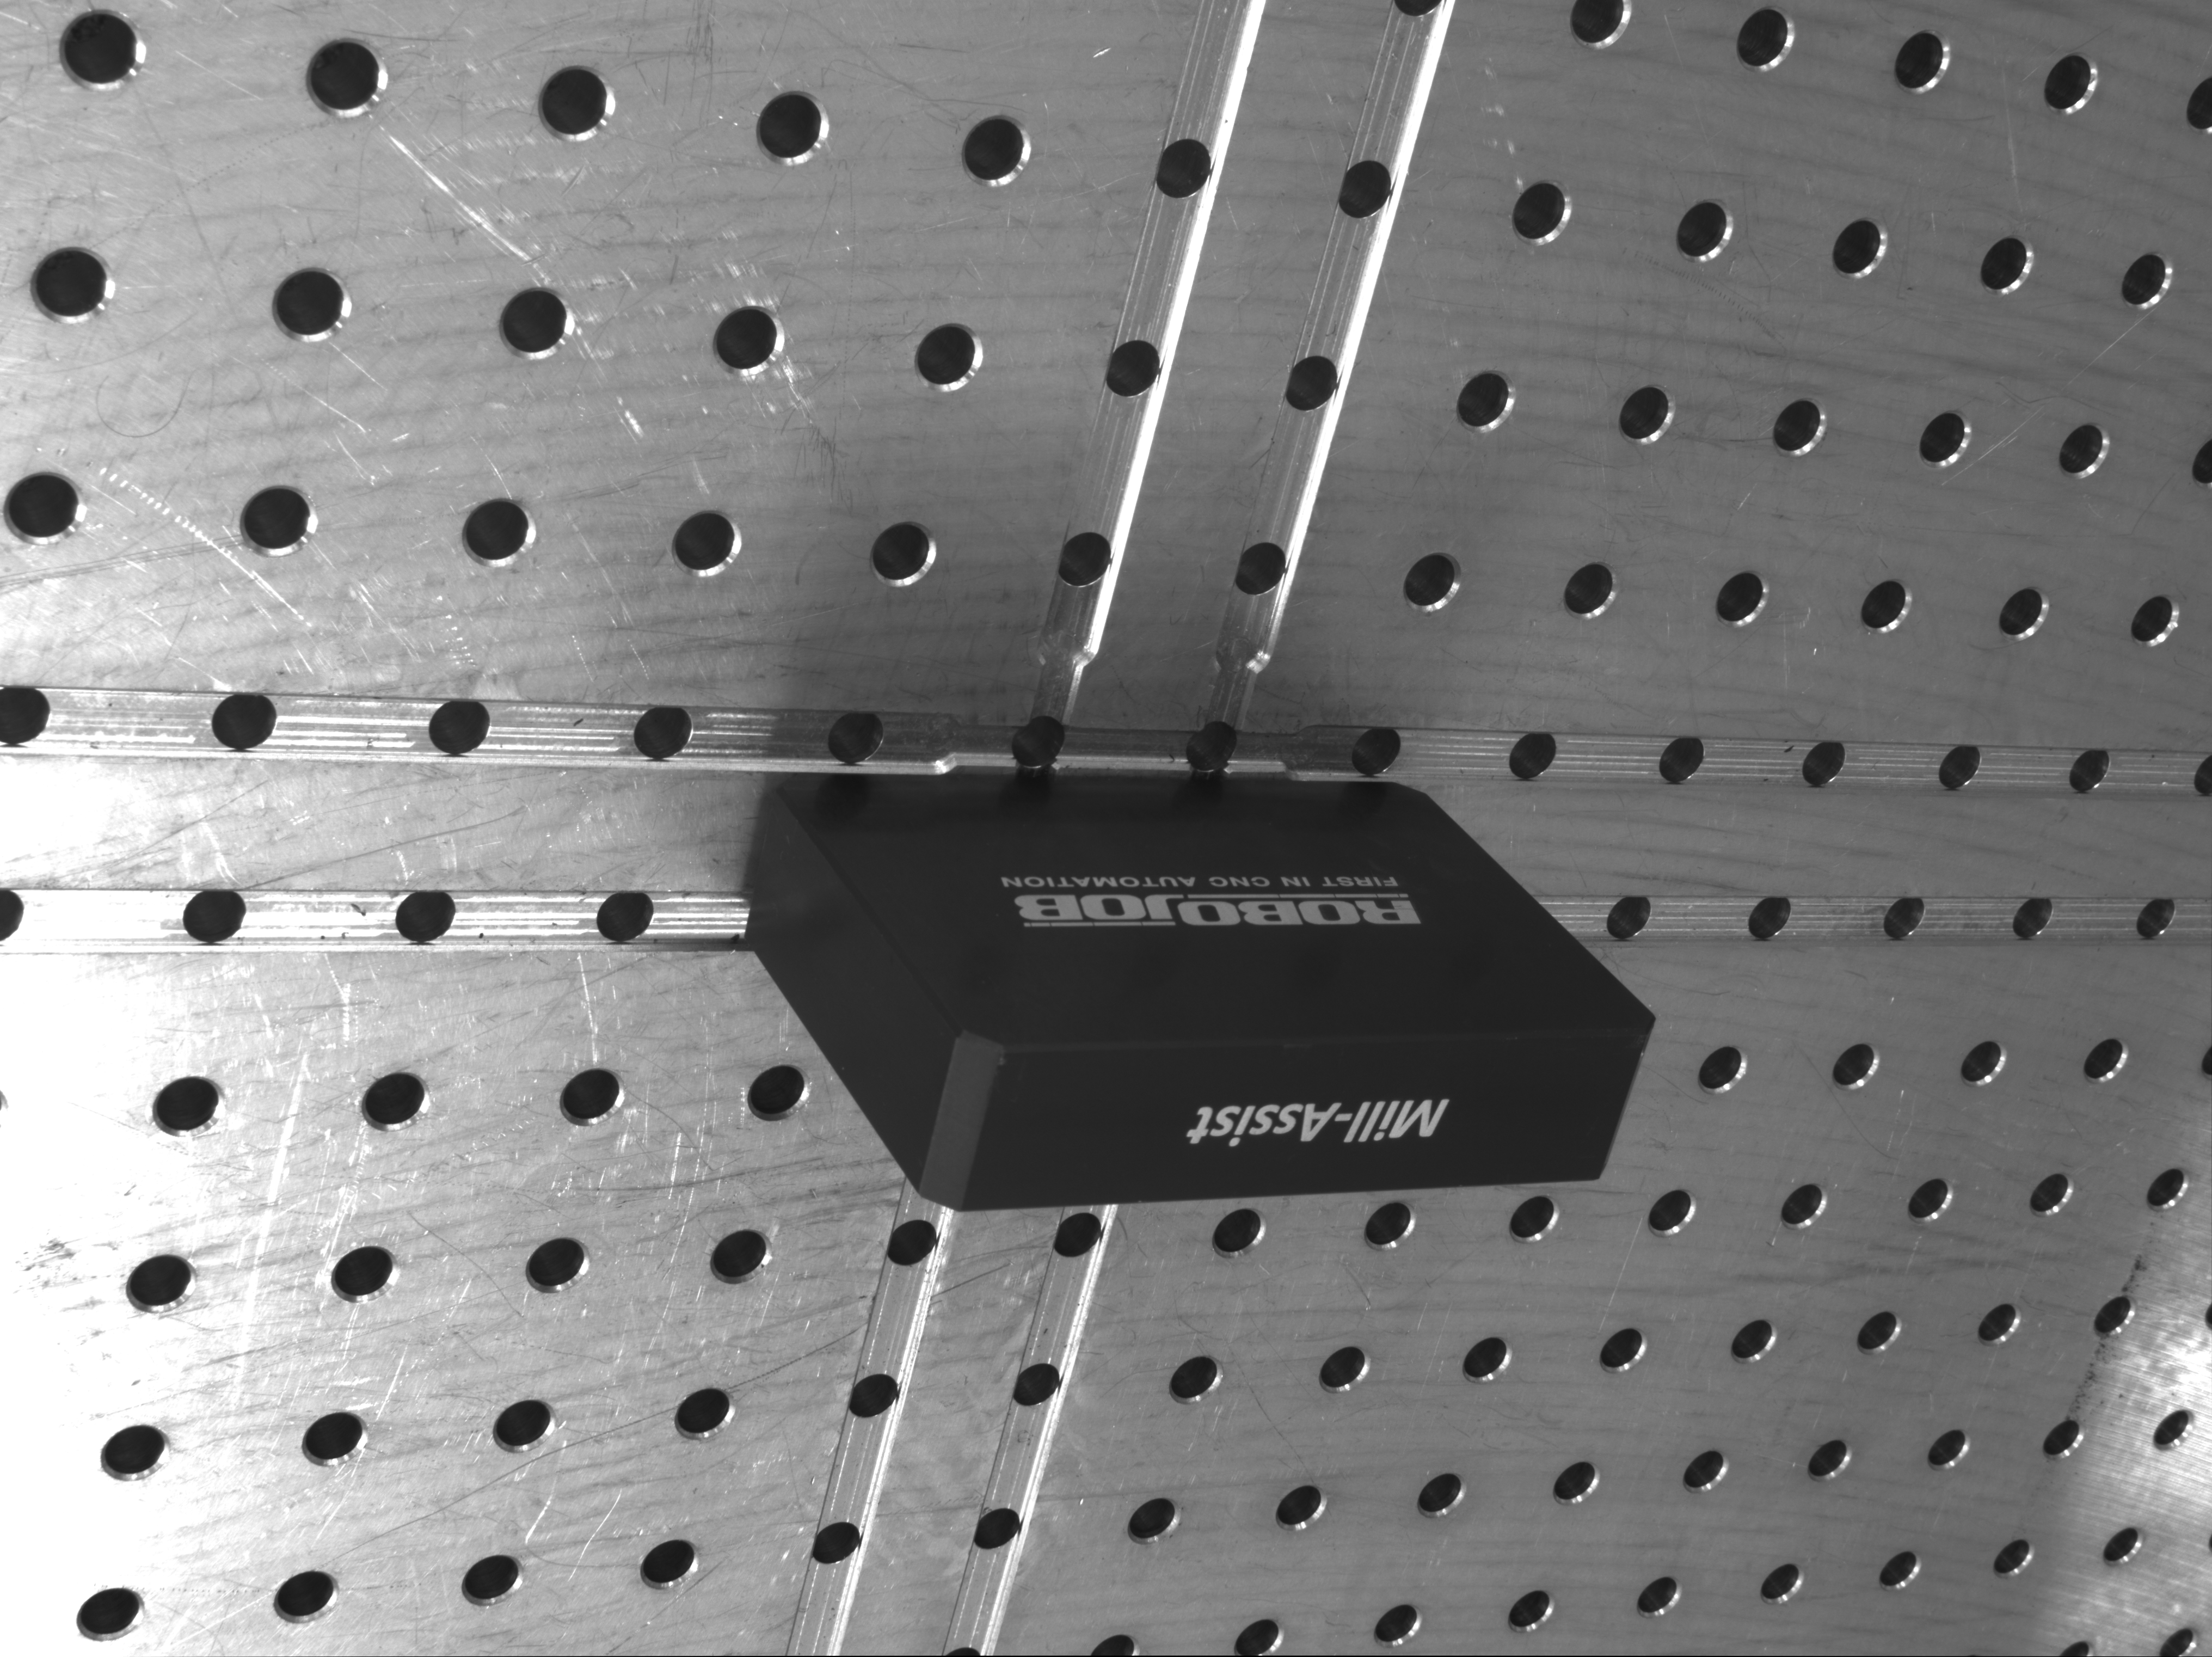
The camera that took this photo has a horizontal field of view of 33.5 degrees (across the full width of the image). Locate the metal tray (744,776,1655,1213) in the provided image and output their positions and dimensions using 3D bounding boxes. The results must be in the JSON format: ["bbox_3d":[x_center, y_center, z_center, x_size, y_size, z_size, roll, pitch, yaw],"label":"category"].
[{"bbox_3d":[0.015,0.025,0.622,0.130,0.090,0.030,0,118,-28],"label":"metal tray"}]
